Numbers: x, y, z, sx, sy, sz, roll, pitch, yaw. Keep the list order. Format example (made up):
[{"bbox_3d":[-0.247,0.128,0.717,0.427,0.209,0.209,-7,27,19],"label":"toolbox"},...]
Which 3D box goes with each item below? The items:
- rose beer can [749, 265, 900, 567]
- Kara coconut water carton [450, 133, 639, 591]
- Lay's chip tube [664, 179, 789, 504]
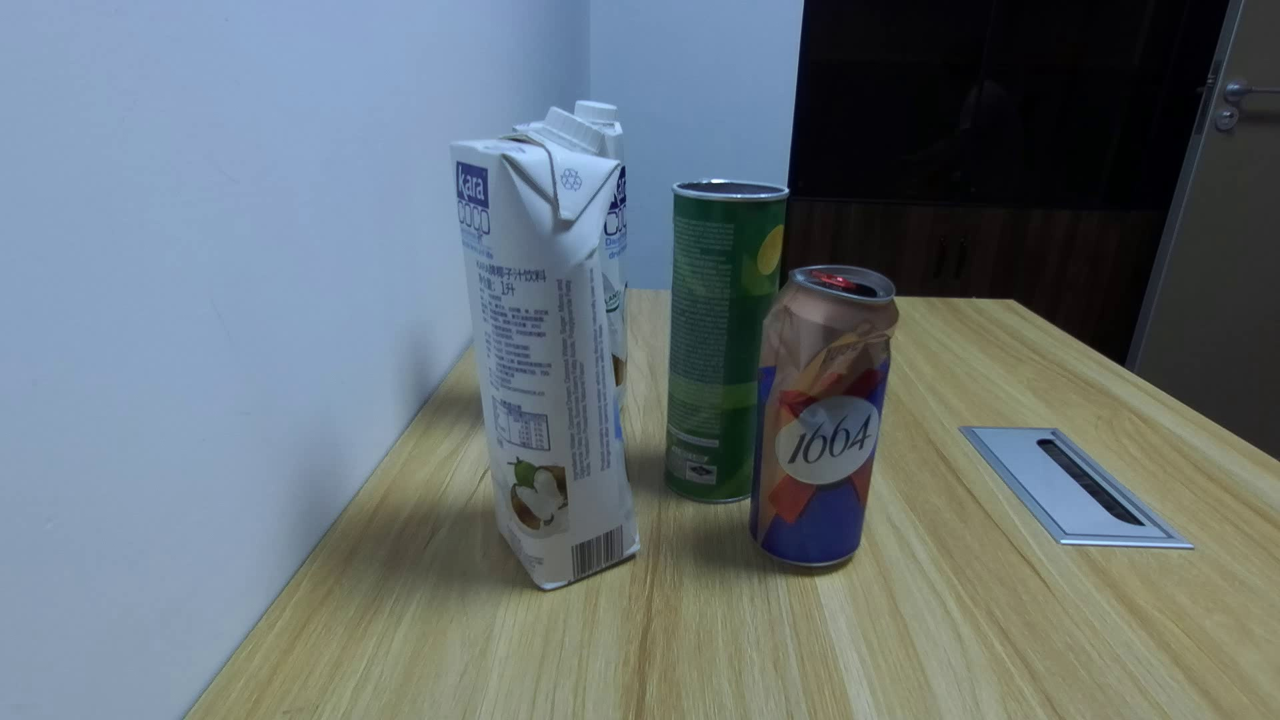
[{"bbox_3d":[0.101,0.034,0.393,0.076,0.167,0.065,-5,25,-19],"label":"rose beer can"},{"bbox_3d":[-0.047,-0.004,0.377,0.071,0.244,0.099,-13,27,-28],"label":"Kara coconut water carton"},{"bbox_3d":[0.052,-0.011,0.456,0.071,0.202,0.071,1,21,0],"label":"Lay's chip tube"}]
